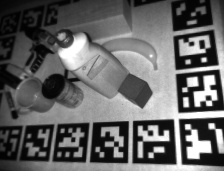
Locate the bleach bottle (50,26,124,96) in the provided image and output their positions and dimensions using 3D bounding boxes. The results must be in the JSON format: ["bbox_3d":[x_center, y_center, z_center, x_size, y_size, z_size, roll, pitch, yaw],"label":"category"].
[{"bbox_3d":[-0.052,-0.060,0.502,0.067,0.254,0.103,25,80,28],"label":"bleach bottle"}]

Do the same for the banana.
[{"bbox_3d":[0.020,-0.125,0.618,0.195,0.039,0.074,10,89,21],"label":"banana"}]

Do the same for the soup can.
[{"bbox_3d":[-0.145,0.005,0.591,0.067,0.103,0.067,-8,64,17],"label":"soup can"}]

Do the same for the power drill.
[{"bbox_3d":[-0.276,-0.101,0.717,0.182,0.058,0.187,25,80,23],"label":"power drill"}]

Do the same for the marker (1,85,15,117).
[{"bbox_3d":[-0.338,0.051,0.702,0.019,0.020,0.120,-35,64,9],"label":"marker"}]

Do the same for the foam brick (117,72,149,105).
[{"bbox_3d":[0.052,0.005,0.540,0.052,0.079,0.051,30,81,30],"label":"foam brick"}]

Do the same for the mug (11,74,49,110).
[{"bbox_3d":[-0.242,0.025,0.636,0.092,0.082,0.117,41,91,26],"label":"mug"}]

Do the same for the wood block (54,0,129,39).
[{"bbox_3d":[-0.061,-0.208,0.653,0.204,0.092,0.089,-7,69,18],"label":"wood block"}]
